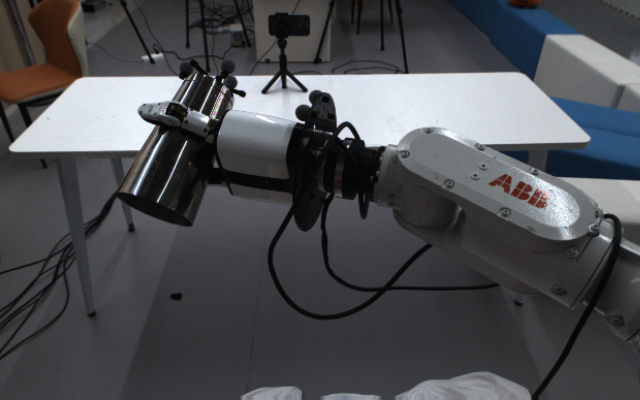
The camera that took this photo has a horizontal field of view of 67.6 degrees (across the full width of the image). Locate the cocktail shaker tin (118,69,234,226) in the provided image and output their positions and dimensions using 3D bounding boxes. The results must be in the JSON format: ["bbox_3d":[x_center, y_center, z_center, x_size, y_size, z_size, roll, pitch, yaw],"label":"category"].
[{"bbox_3d":[-0.165,-0.064,0.583,0.093,0.093,0.170,13,70,15],"label":"cocktail shaker tin"}]
